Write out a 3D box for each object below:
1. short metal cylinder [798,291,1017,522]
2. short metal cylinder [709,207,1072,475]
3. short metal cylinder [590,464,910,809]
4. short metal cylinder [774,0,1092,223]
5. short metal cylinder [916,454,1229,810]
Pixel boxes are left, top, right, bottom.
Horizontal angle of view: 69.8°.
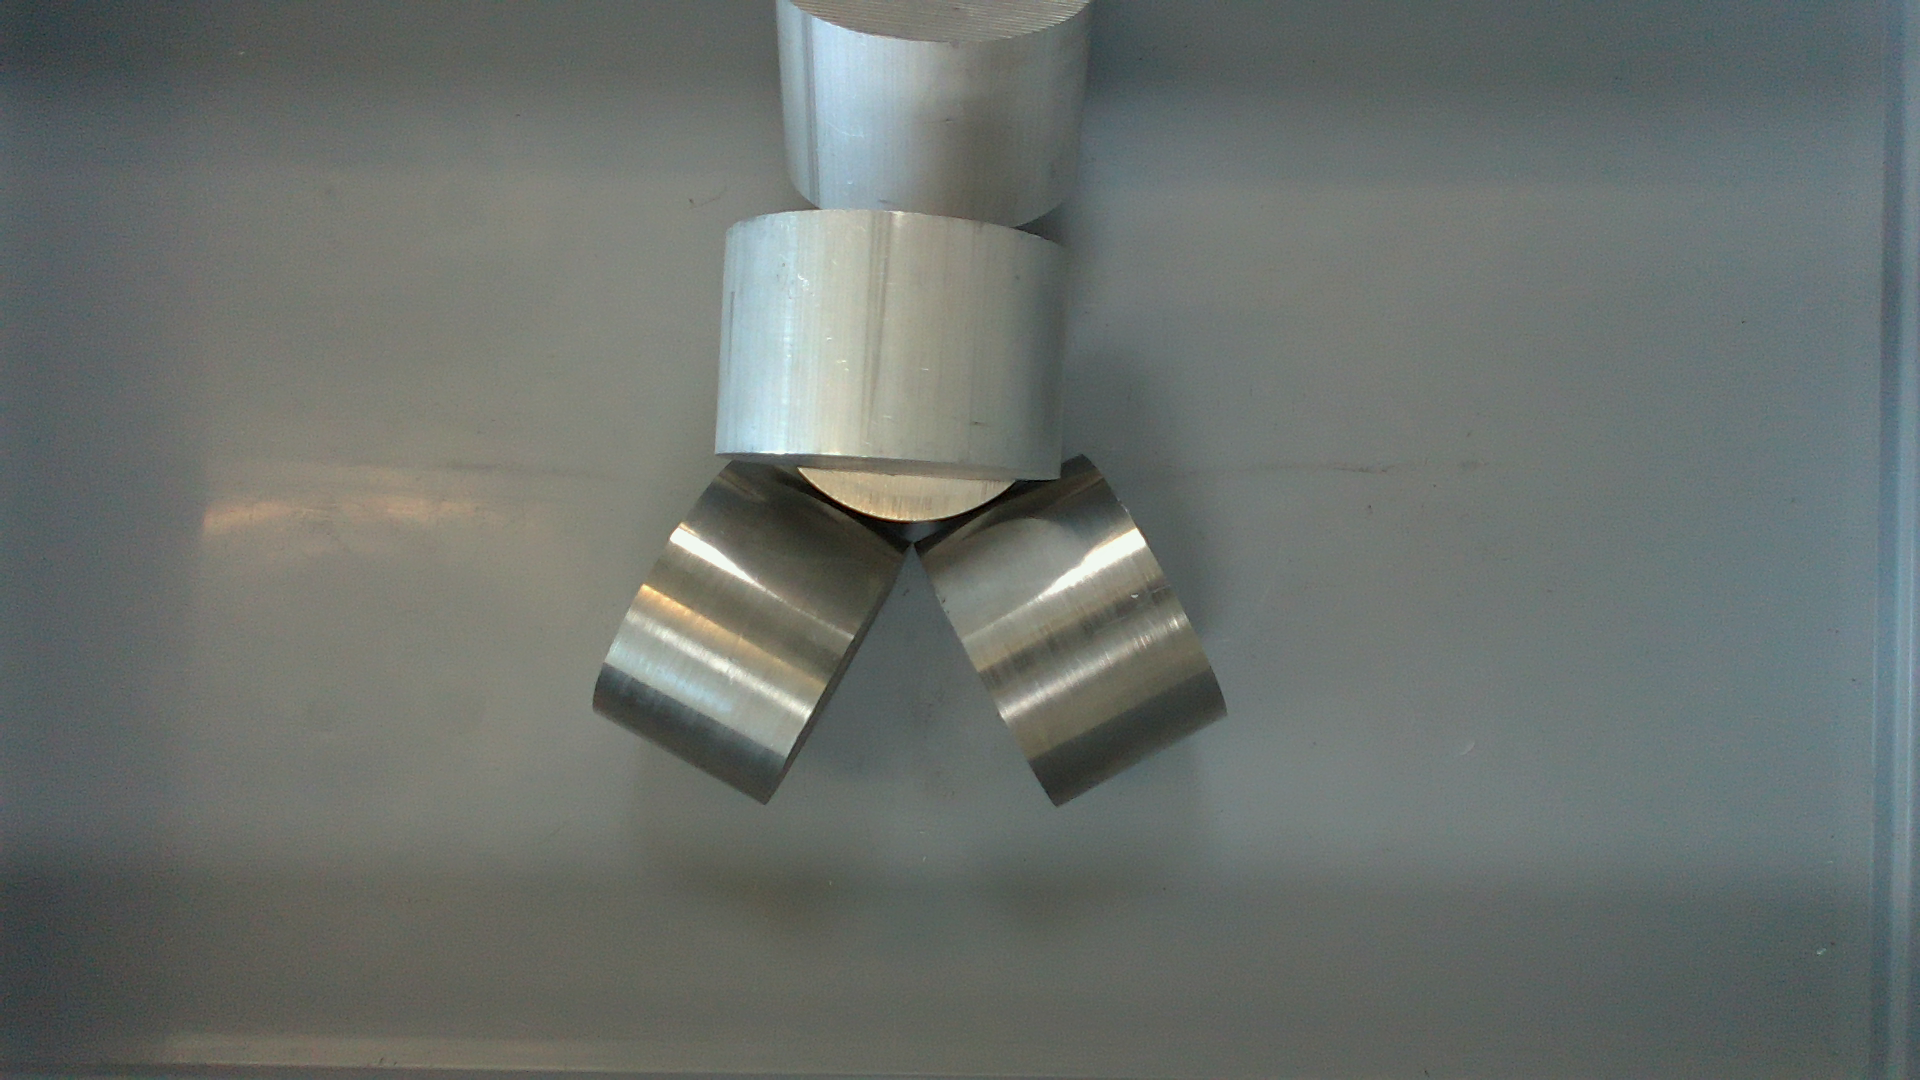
[{"bbox_3d":[-0.013,-0.045,0.380,0.080,0.050,0.080,0,90,0],"label":"short metal cylinder"},{"bbox_3d":[-0.016,-0.042,0.316,0.080,0.080,0.050,3,90,0],"label":"short metal cylinder"},{"bbox_3d":[-0.054,0.024,0.366,0.050,0.080,0.080,29,90,0],"label":"short metal cylinder"},{"bbox_3d":[-0.007,-0.122,0.360,0.080,0.080,0.050,4,133,0],"label":"short metal cylinder"},{"bbox_3d":[0.029,0.024,0.367,0.050,0.080,0.080,-29,90,1],"label":"short metal cylinder"}]
